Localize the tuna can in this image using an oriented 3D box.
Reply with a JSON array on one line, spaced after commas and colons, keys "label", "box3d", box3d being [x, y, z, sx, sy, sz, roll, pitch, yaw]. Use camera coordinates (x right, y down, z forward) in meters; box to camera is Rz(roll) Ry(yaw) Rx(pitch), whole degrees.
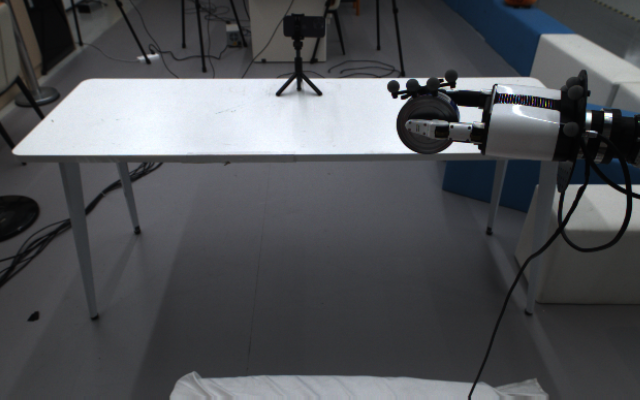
[{"label": "tuna can", "box3d": [0.155, -0.111, 0.688, 0.085, 0.085, 0.034, 13, 29, 15]}]
